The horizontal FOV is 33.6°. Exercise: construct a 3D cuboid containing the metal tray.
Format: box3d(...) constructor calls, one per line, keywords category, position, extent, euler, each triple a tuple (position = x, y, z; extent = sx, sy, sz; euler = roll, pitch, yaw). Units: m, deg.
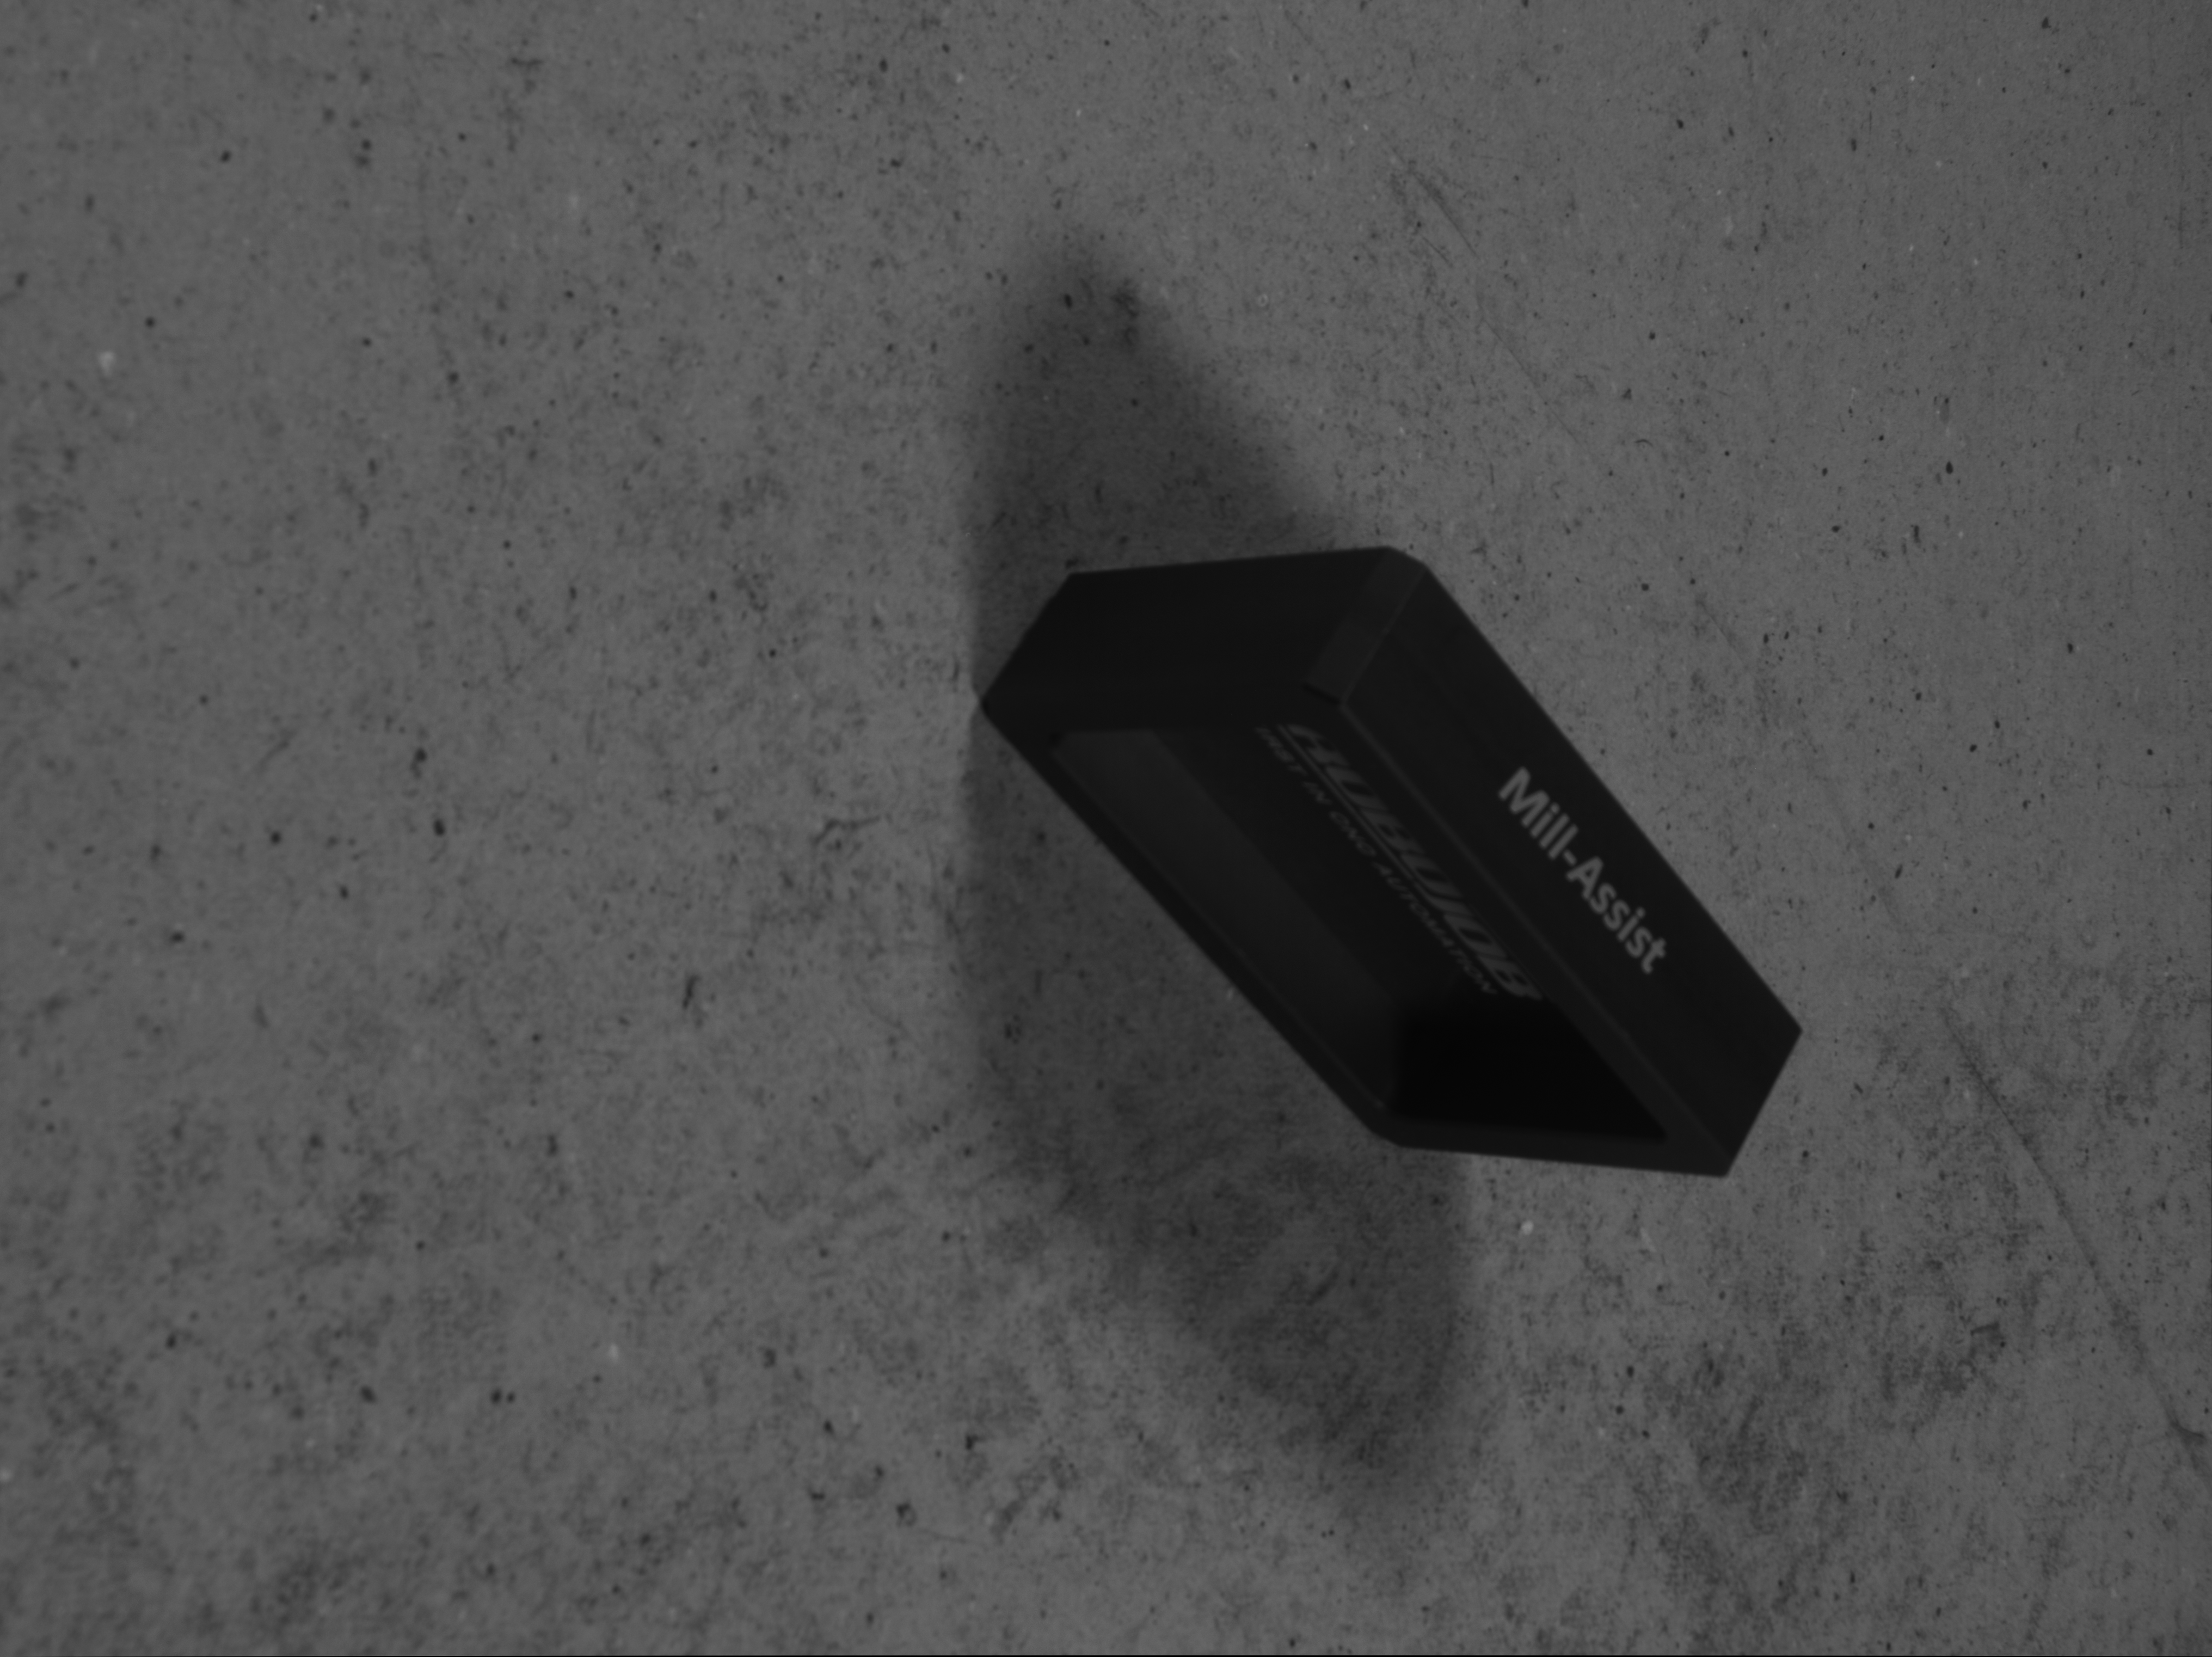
box3d(category="metal tray", position=(0.053, 0.008, 0.639), extent=(0.130, 0.090, 0.030), euler=(47, 62, -29))
